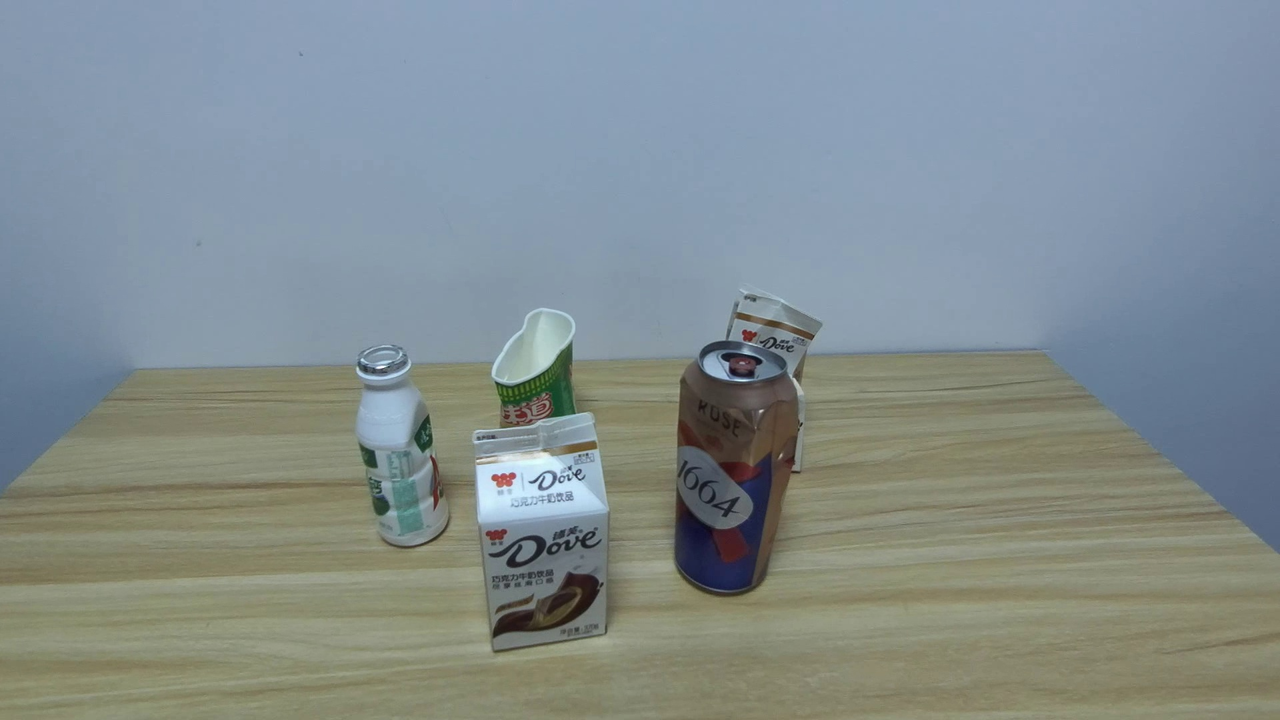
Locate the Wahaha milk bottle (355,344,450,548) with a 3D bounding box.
[{"bbox_3d":[-0.168,0.062,0.497,0.056,0.148,0.056,1,27,0],"label":"Wahaha milk bottle"}]

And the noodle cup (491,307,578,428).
[{"bbox_3d":[-0.087,0.029,0.586,0.070,0.111,0.115,17,34,24],"label":"noodle cup"}]

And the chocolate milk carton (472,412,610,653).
[{"bbox_3d":[-0.060,0.097,0.434,0.075,0.148,0.074,-4,31,-10],"label":"chocolate milk carton"}]

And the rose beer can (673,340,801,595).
[{"bbox_3d":[0.061,0.072,0.460,0.065,0.167,0.075,-10,28,-24],"label":"rose beer can"}]

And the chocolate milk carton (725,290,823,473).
[{"bbox_3d":[0.102,0.011,0.578,0.076,0.156,0.073,5,30,5],"label":"chocolate milk carton"}]
